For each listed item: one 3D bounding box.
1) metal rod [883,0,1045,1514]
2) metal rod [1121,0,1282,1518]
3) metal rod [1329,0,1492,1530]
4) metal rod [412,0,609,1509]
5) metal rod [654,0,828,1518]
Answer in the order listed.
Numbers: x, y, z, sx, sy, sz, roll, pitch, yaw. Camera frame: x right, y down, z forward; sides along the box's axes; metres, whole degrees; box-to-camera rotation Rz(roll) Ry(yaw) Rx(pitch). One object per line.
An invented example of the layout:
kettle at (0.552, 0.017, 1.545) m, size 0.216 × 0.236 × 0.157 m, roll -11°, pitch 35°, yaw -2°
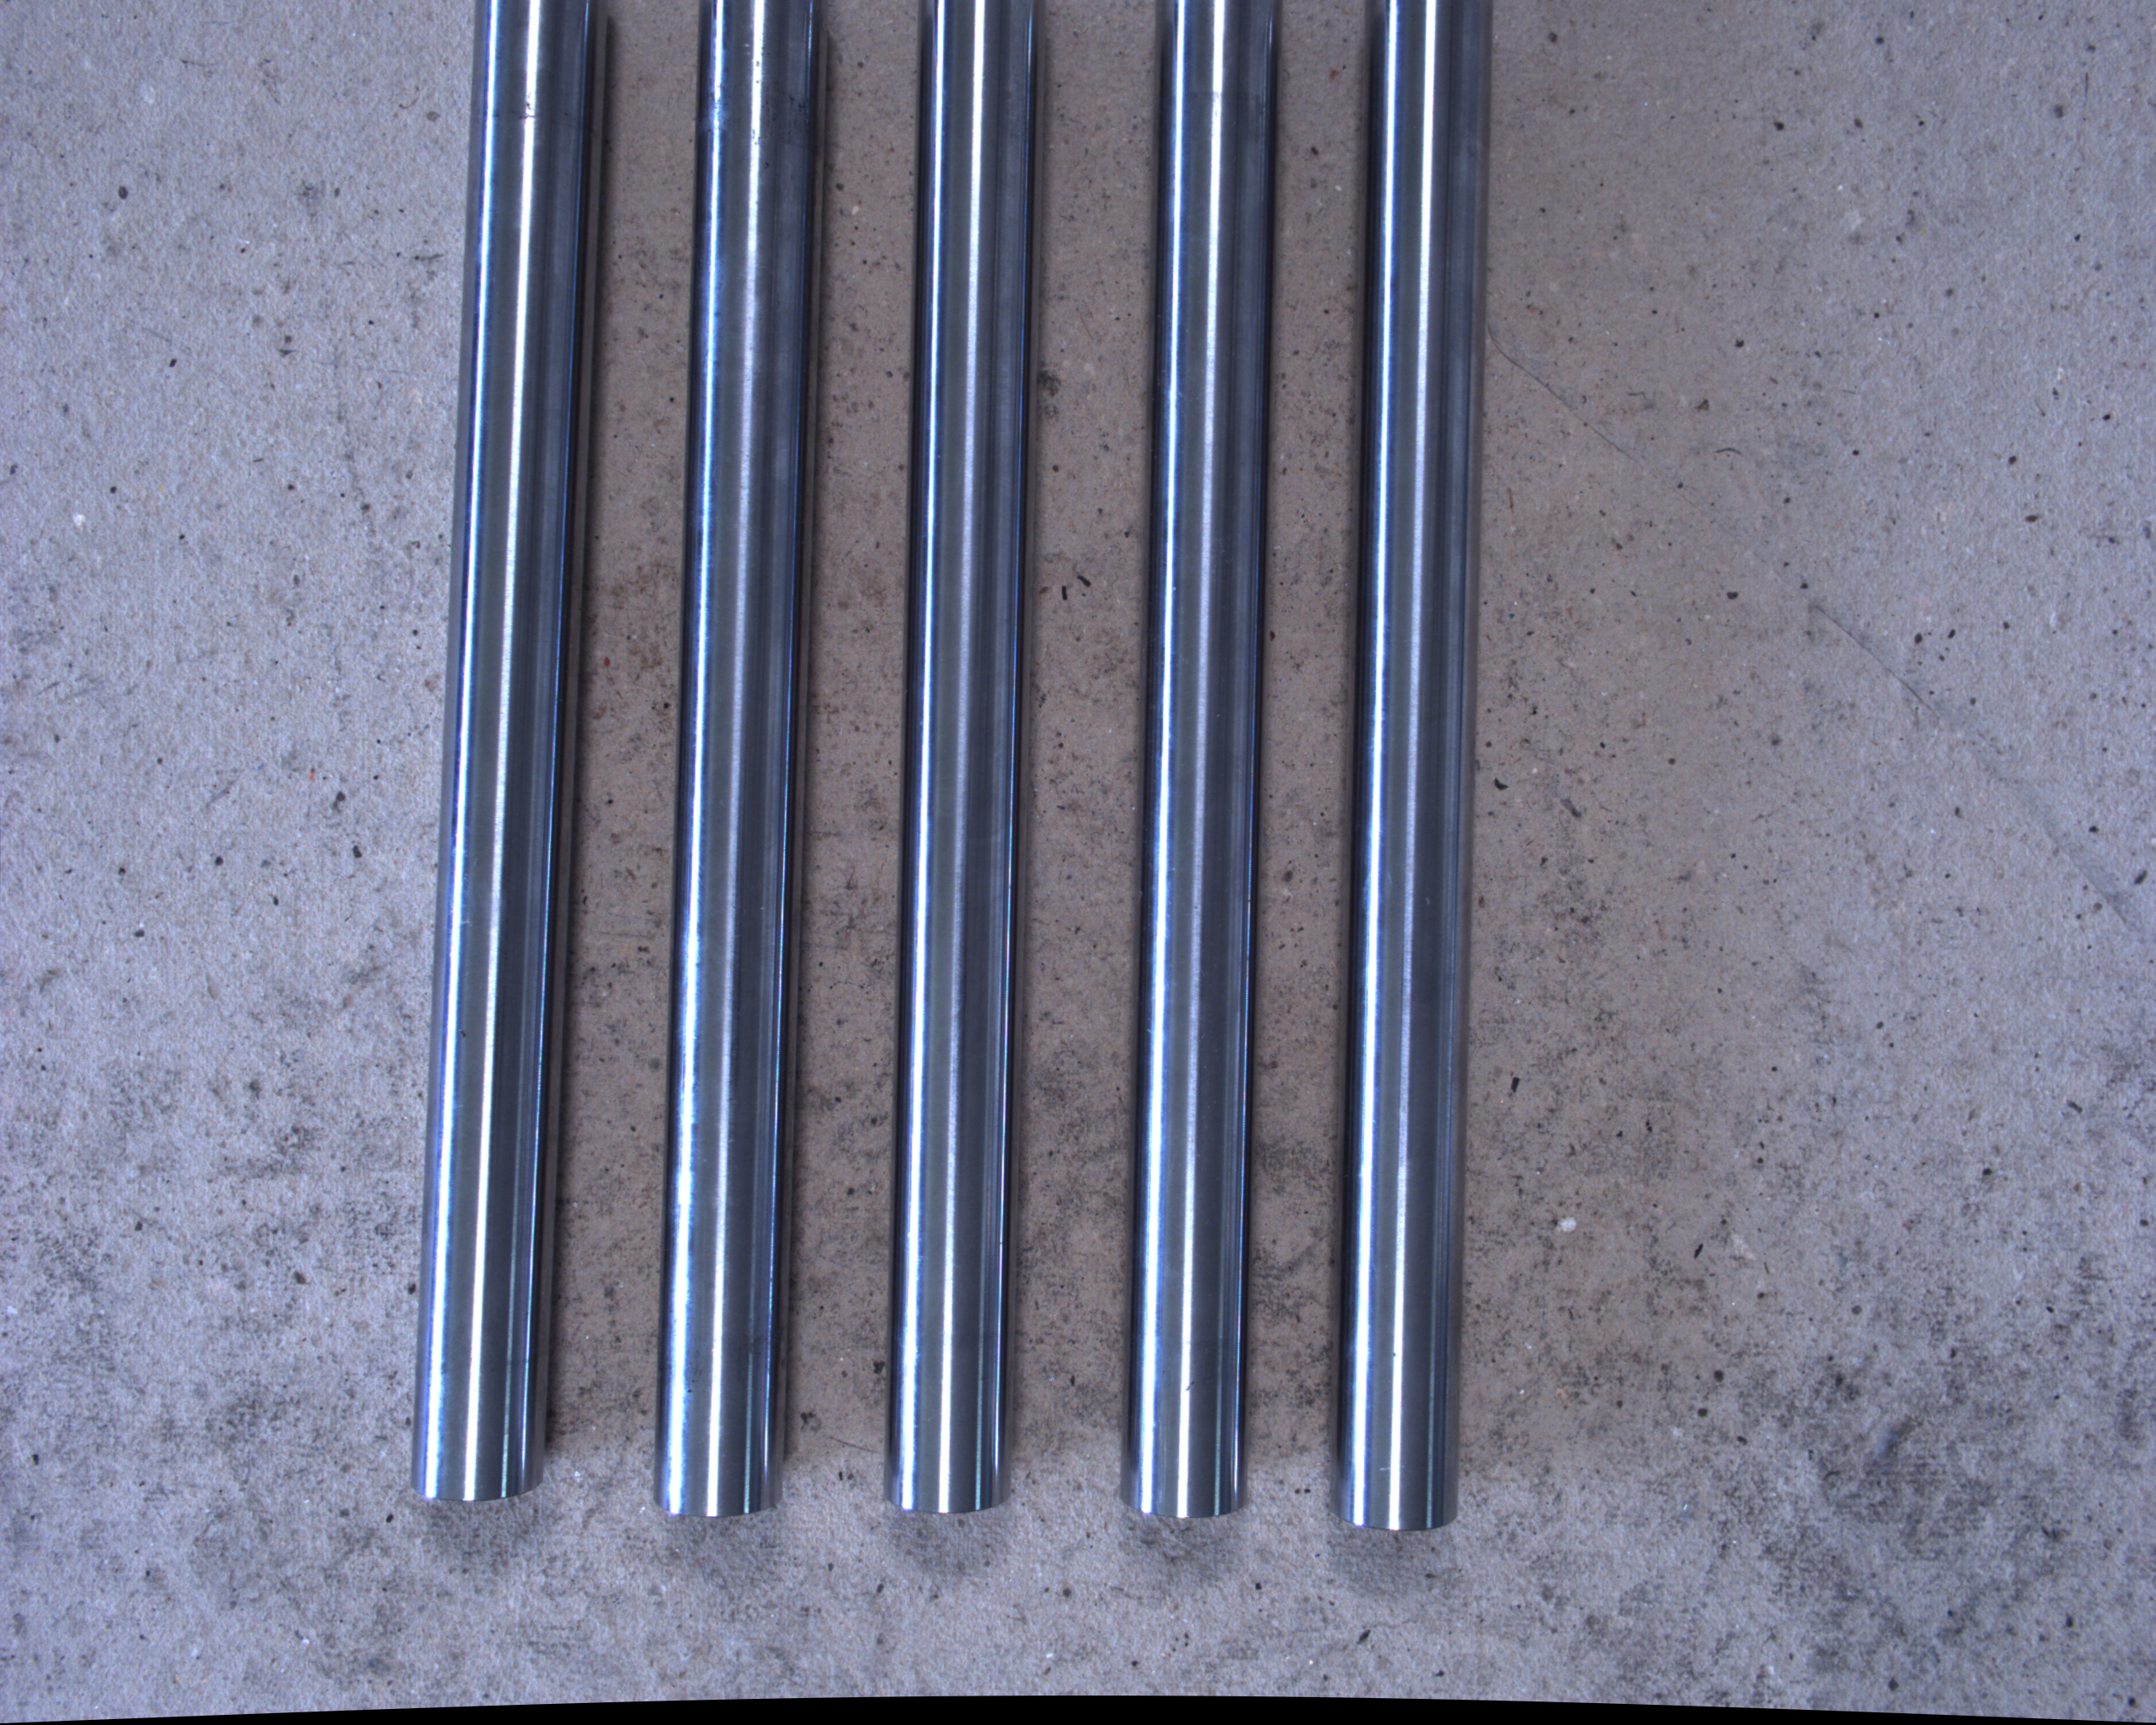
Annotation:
metal rod at (-0.022, -0.025, 0.411) m, size 0.025 × 0.025 × 0.298 m, roll 1°, pitch 90°, yaw 0°
metal rod at (0.024, -0.024, 0.411) m, size 0.025 × 0.025 × 0.298 m, roll 1°, pitch 90°, yaw 0°
metal rod at (0.066, -0.022, 0.411) m, size 0.025 × 0.025 × 0.298 m, roll 1°, pitch 90°, yaw 0°
metal rod at (-0.111, -0.026, 0.409) m, size 0.025 × 0.025 × 0.298 m, roll 2°, pitch 90°, yaw 0°
metal rod at (-0.066, -0.024, 0.410) m, size 0.025 × 0.025 × 0.298 m, roll 2°, pitch 90°, yaw 0°
